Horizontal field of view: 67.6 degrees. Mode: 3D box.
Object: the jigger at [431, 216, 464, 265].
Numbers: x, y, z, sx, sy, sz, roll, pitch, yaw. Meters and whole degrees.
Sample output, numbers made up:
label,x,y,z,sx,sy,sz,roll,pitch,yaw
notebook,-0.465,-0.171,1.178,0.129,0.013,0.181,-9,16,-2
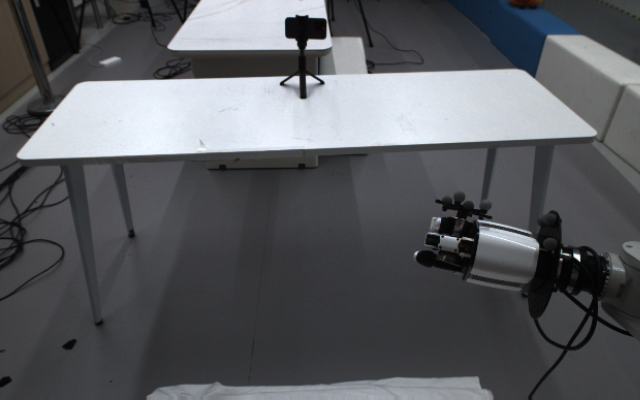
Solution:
label,x,y,z,sx,sy,sz,roll,pitch,yaw
jigger,0.205,0.061,0.733,0.043,0.071,0.043,19,-6,2
